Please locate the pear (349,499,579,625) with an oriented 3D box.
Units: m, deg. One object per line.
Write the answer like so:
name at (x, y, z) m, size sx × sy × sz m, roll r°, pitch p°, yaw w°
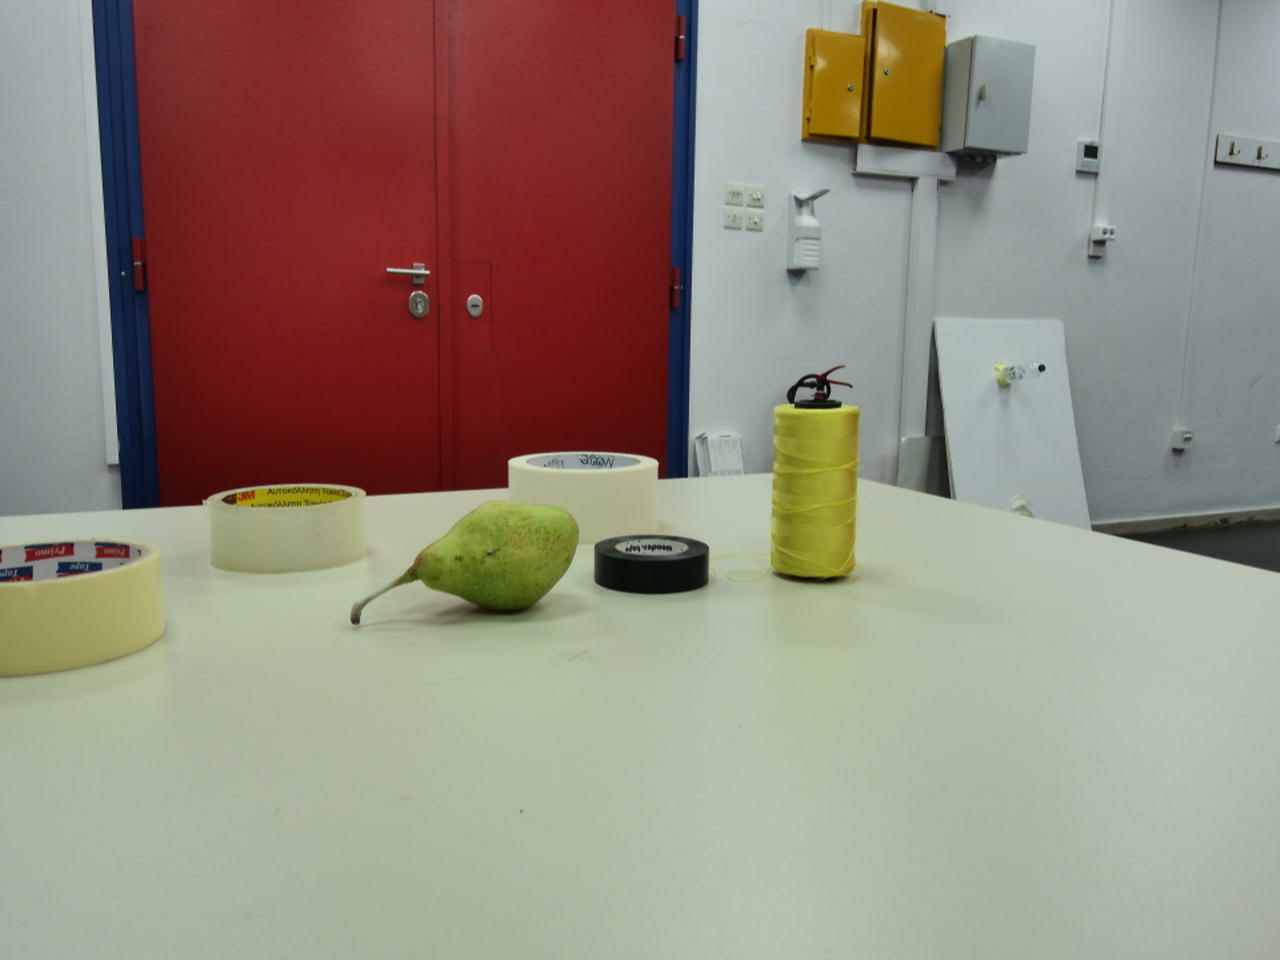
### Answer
pear at (-0.087, 0.039, 0.505) m, size 0.111 × 0.056 × 0.056 m, roll -1°, pitch 6°, yaw -10°
